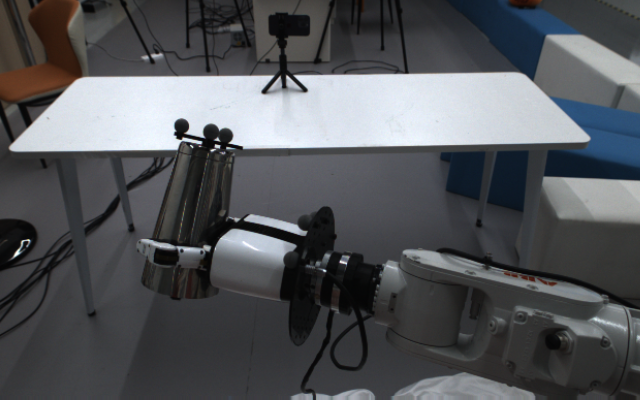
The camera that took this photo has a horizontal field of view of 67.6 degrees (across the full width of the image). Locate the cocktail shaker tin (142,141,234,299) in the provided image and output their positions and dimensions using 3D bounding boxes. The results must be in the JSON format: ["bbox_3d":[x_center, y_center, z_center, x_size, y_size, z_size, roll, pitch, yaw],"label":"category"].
[{"bbox_3d":[-0.150,0.021,0.578,0.093,0.170,0.093,12,5,-1],"label":"cocktail shaker tin"}]
